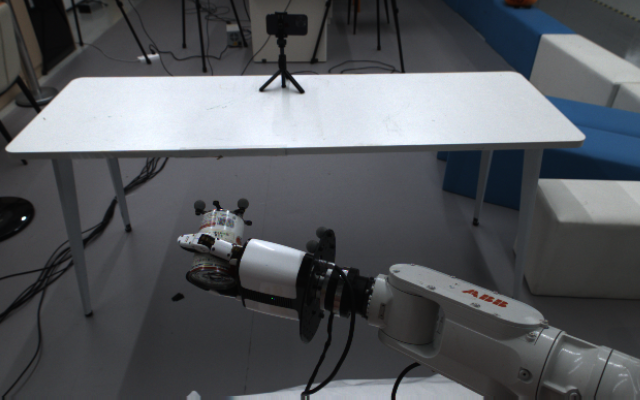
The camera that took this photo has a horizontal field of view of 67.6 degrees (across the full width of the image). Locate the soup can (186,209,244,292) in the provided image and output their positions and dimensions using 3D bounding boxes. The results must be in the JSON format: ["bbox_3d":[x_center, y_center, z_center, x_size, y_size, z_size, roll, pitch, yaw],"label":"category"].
[{"bbox_3d":[-0.150,0.073,0.712,0.067,0.067,0.101,3,57,1],"label":"soup can"}]
